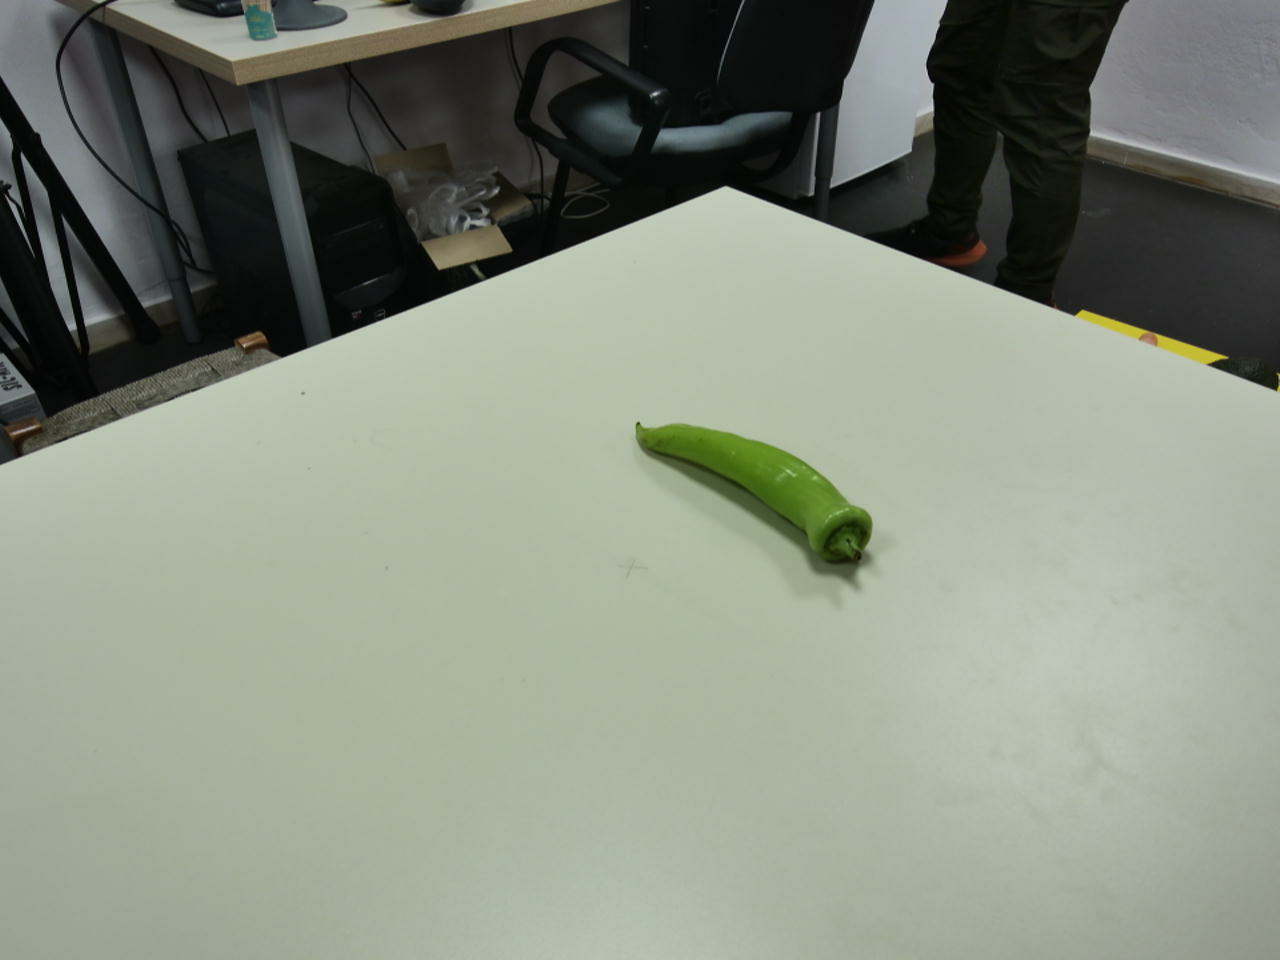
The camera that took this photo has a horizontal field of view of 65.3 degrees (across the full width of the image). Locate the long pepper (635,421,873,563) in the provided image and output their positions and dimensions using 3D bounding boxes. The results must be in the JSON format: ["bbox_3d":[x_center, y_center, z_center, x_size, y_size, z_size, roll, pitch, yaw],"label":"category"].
[{"bbox_3d":[0.068,-0.006,0.608,0.046,0.038,0.197,-26,43,-30],"label":"long pepper"}]
